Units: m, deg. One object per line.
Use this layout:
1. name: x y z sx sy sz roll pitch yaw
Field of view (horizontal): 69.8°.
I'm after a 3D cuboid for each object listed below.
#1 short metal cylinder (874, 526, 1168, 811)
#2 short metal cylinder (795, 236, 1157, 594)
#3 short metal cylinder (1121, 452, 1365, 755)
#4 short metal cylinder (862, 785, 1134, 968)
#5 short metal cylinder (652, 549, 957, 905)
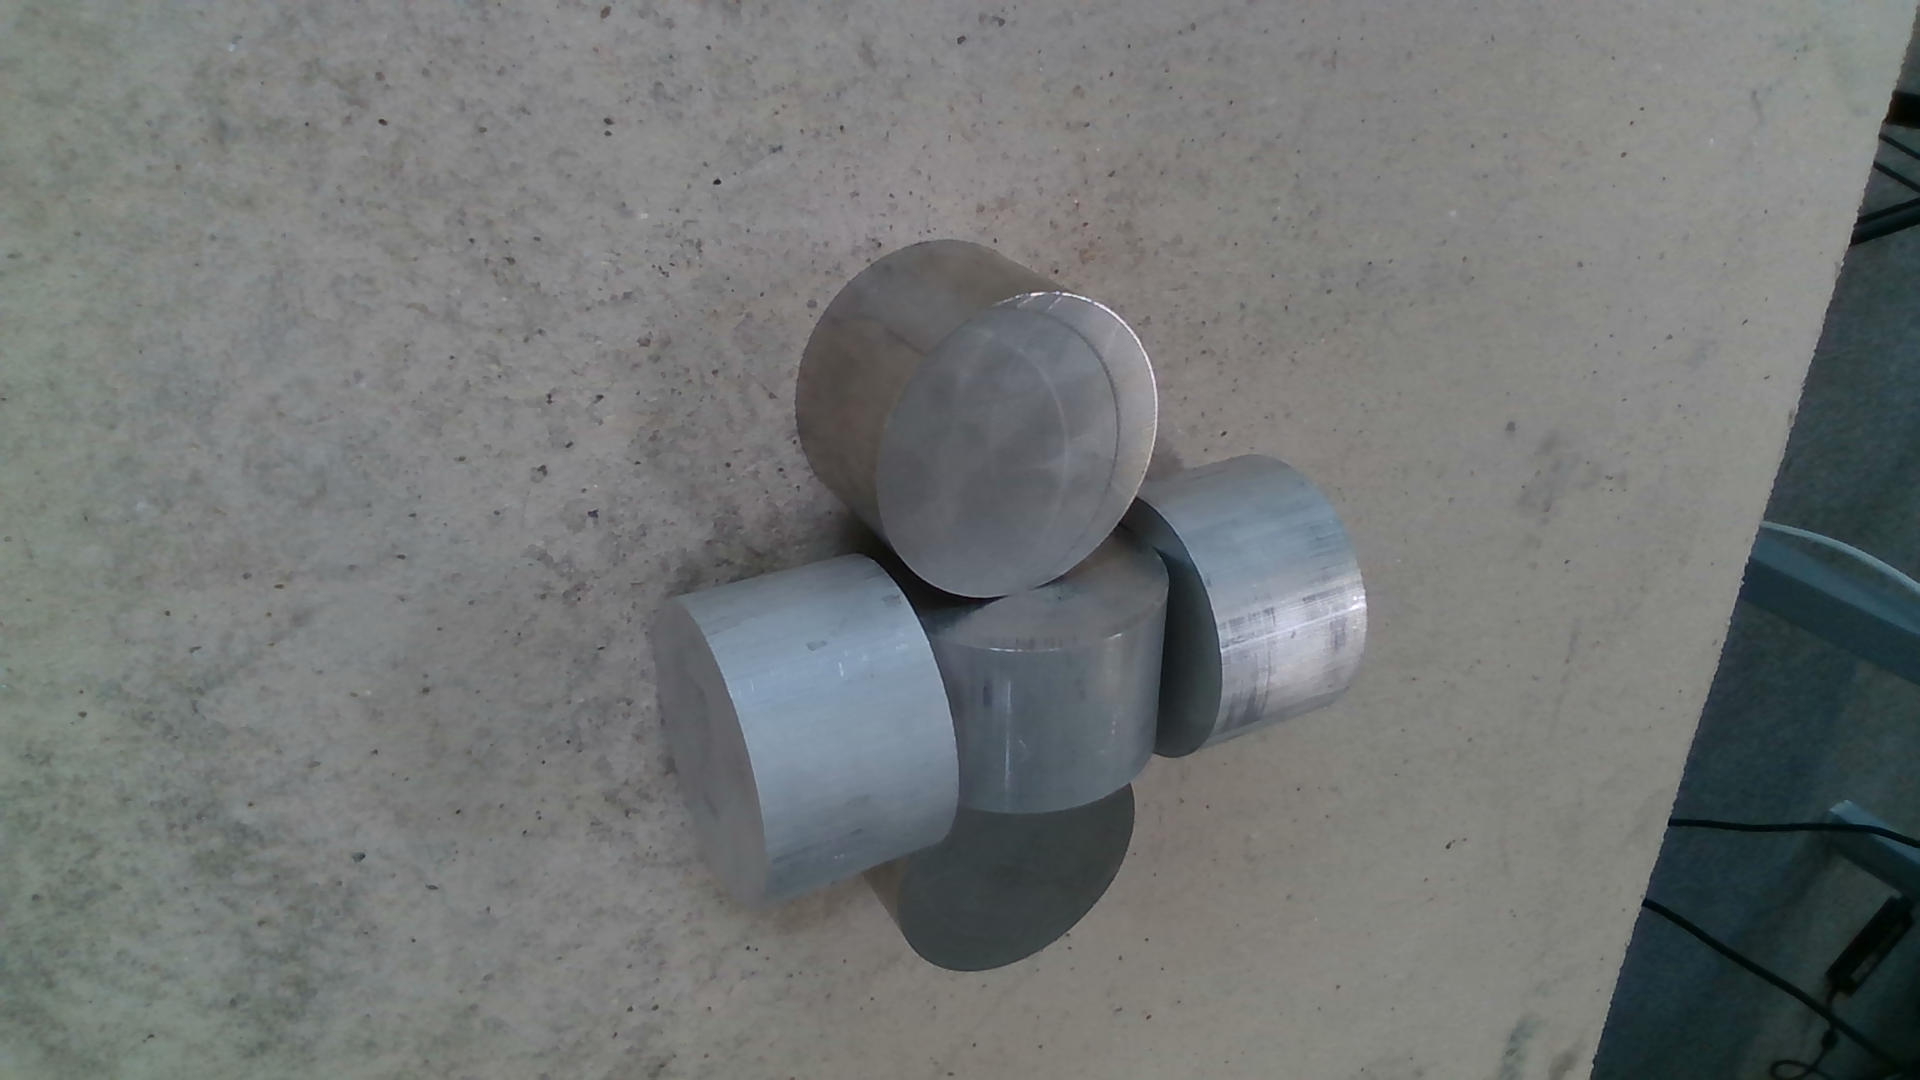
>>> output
1. short metal cylinder: 0.015 0.030 0.381 0.080 0.080 0.050 -14 121 -25
2. short metal cylinder: 0.004 -0.033 0.358 0.080 0.050 0.080 -15 122 -25
3. short metal cylinder: 0.073 0.018 0.410 0.050 0.080 0.080 -15 122 -25
4. short metal cylinder: 0.006 0.082 0.422 0.080 0.050 0.080 -14 121 -25
5. short metal cylinder: -0.042 0.047 0.355 0.050 0.080 0.080 -15 122 -25
